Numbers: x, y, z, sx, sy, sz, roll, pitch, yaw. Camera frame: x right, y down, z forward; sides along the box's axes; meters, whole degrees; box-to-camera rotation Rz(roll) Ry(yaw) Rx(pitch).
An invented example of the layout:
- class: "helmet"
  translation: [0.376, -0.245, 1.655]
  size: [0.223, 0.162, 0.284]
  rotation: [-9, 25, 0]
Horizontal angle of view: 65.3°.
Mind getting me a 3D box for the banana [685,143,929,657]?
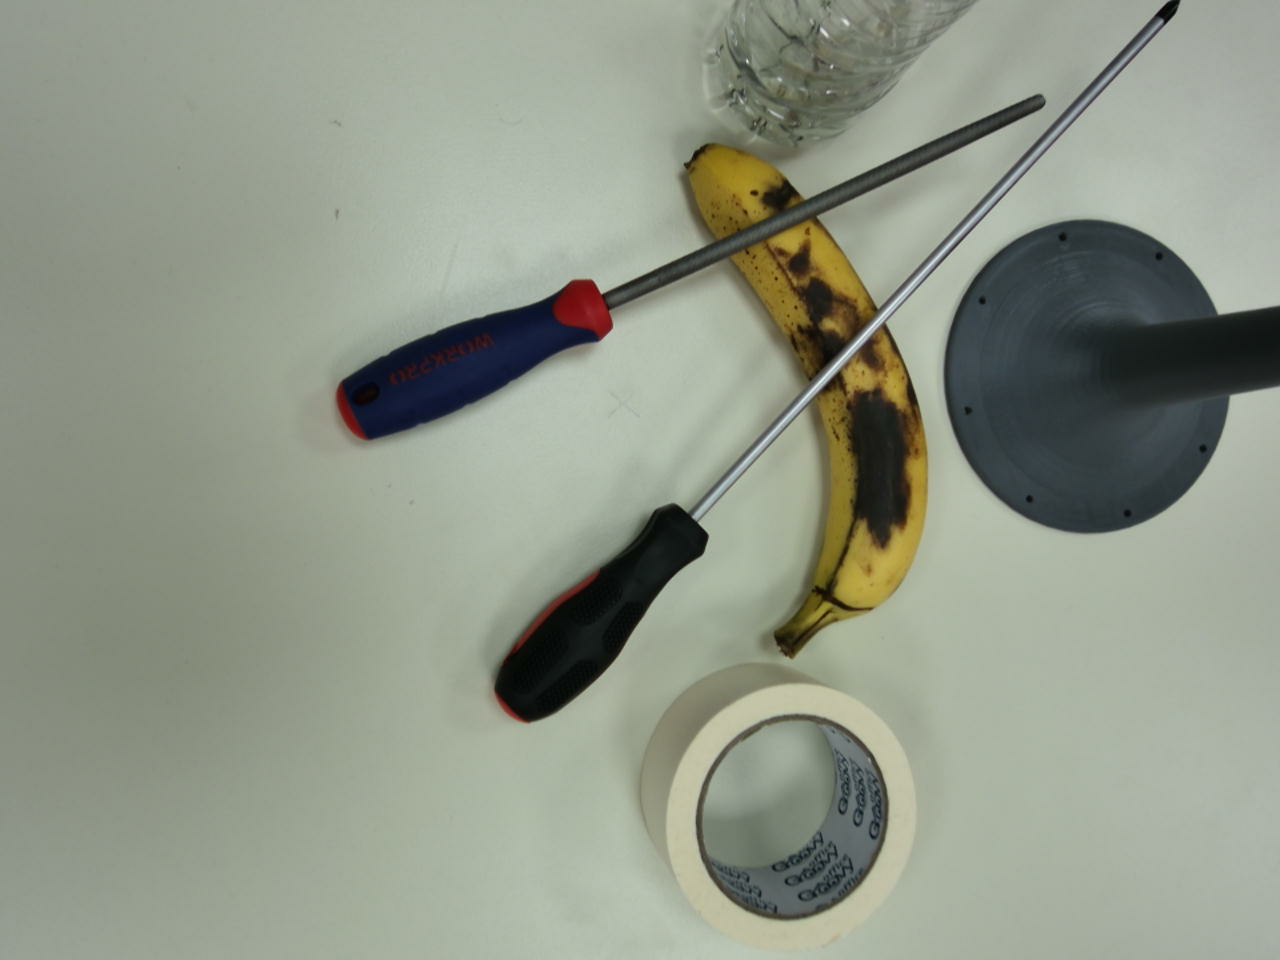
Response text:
- class: "banana"
  translation: [0.080, -0.039, 0.435]
  size: [0.084, 0.037, 0.222]
  rotation: [-10, 92, -11]
